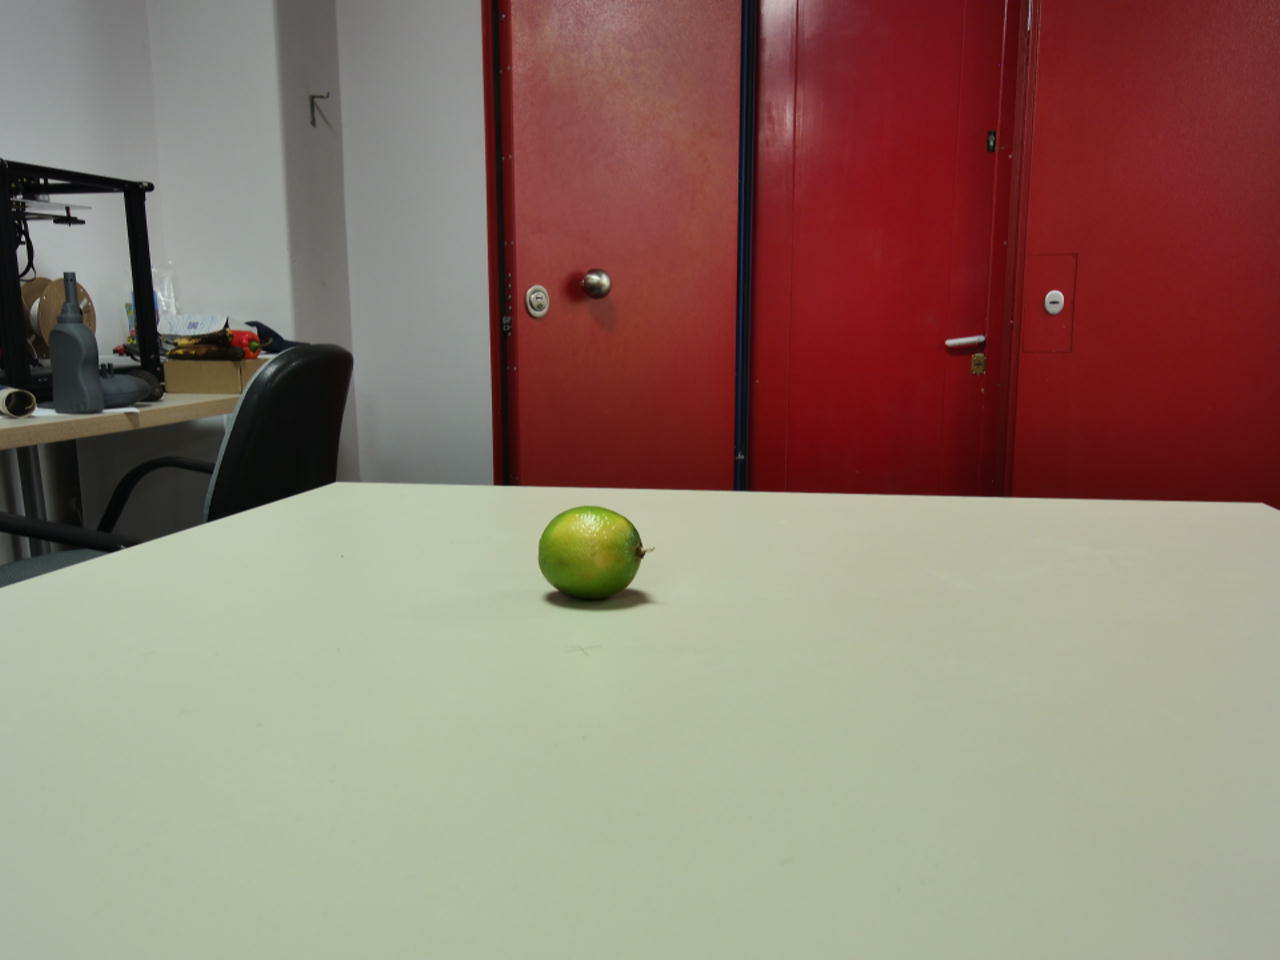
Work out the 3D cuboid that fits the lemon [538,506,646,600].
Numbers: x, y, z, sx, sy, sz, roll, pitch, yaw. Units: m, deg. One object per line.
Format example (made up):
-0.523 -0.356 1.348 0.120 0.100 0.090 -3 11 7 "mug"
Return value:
-0.027 0.039 0.548 0.054 0.050 0.055 -4 7 -28 "lemon"
